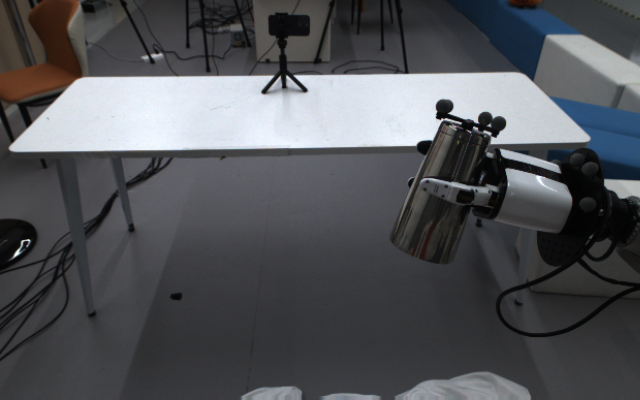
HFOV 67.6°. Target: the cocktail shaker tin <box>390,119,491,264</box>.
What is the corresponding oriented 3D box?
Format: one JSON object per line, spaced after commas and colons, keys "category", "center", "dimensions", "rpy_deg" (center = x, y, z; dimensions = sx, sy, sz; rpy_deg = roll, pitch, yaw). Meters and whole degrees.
{"category": "cocktail shaker tin", "center": [0.163, -0.014, 0.638], "dimensions": [0.093, 0.170, 0.093], "rpy_deg": [15, 17, -5]}
